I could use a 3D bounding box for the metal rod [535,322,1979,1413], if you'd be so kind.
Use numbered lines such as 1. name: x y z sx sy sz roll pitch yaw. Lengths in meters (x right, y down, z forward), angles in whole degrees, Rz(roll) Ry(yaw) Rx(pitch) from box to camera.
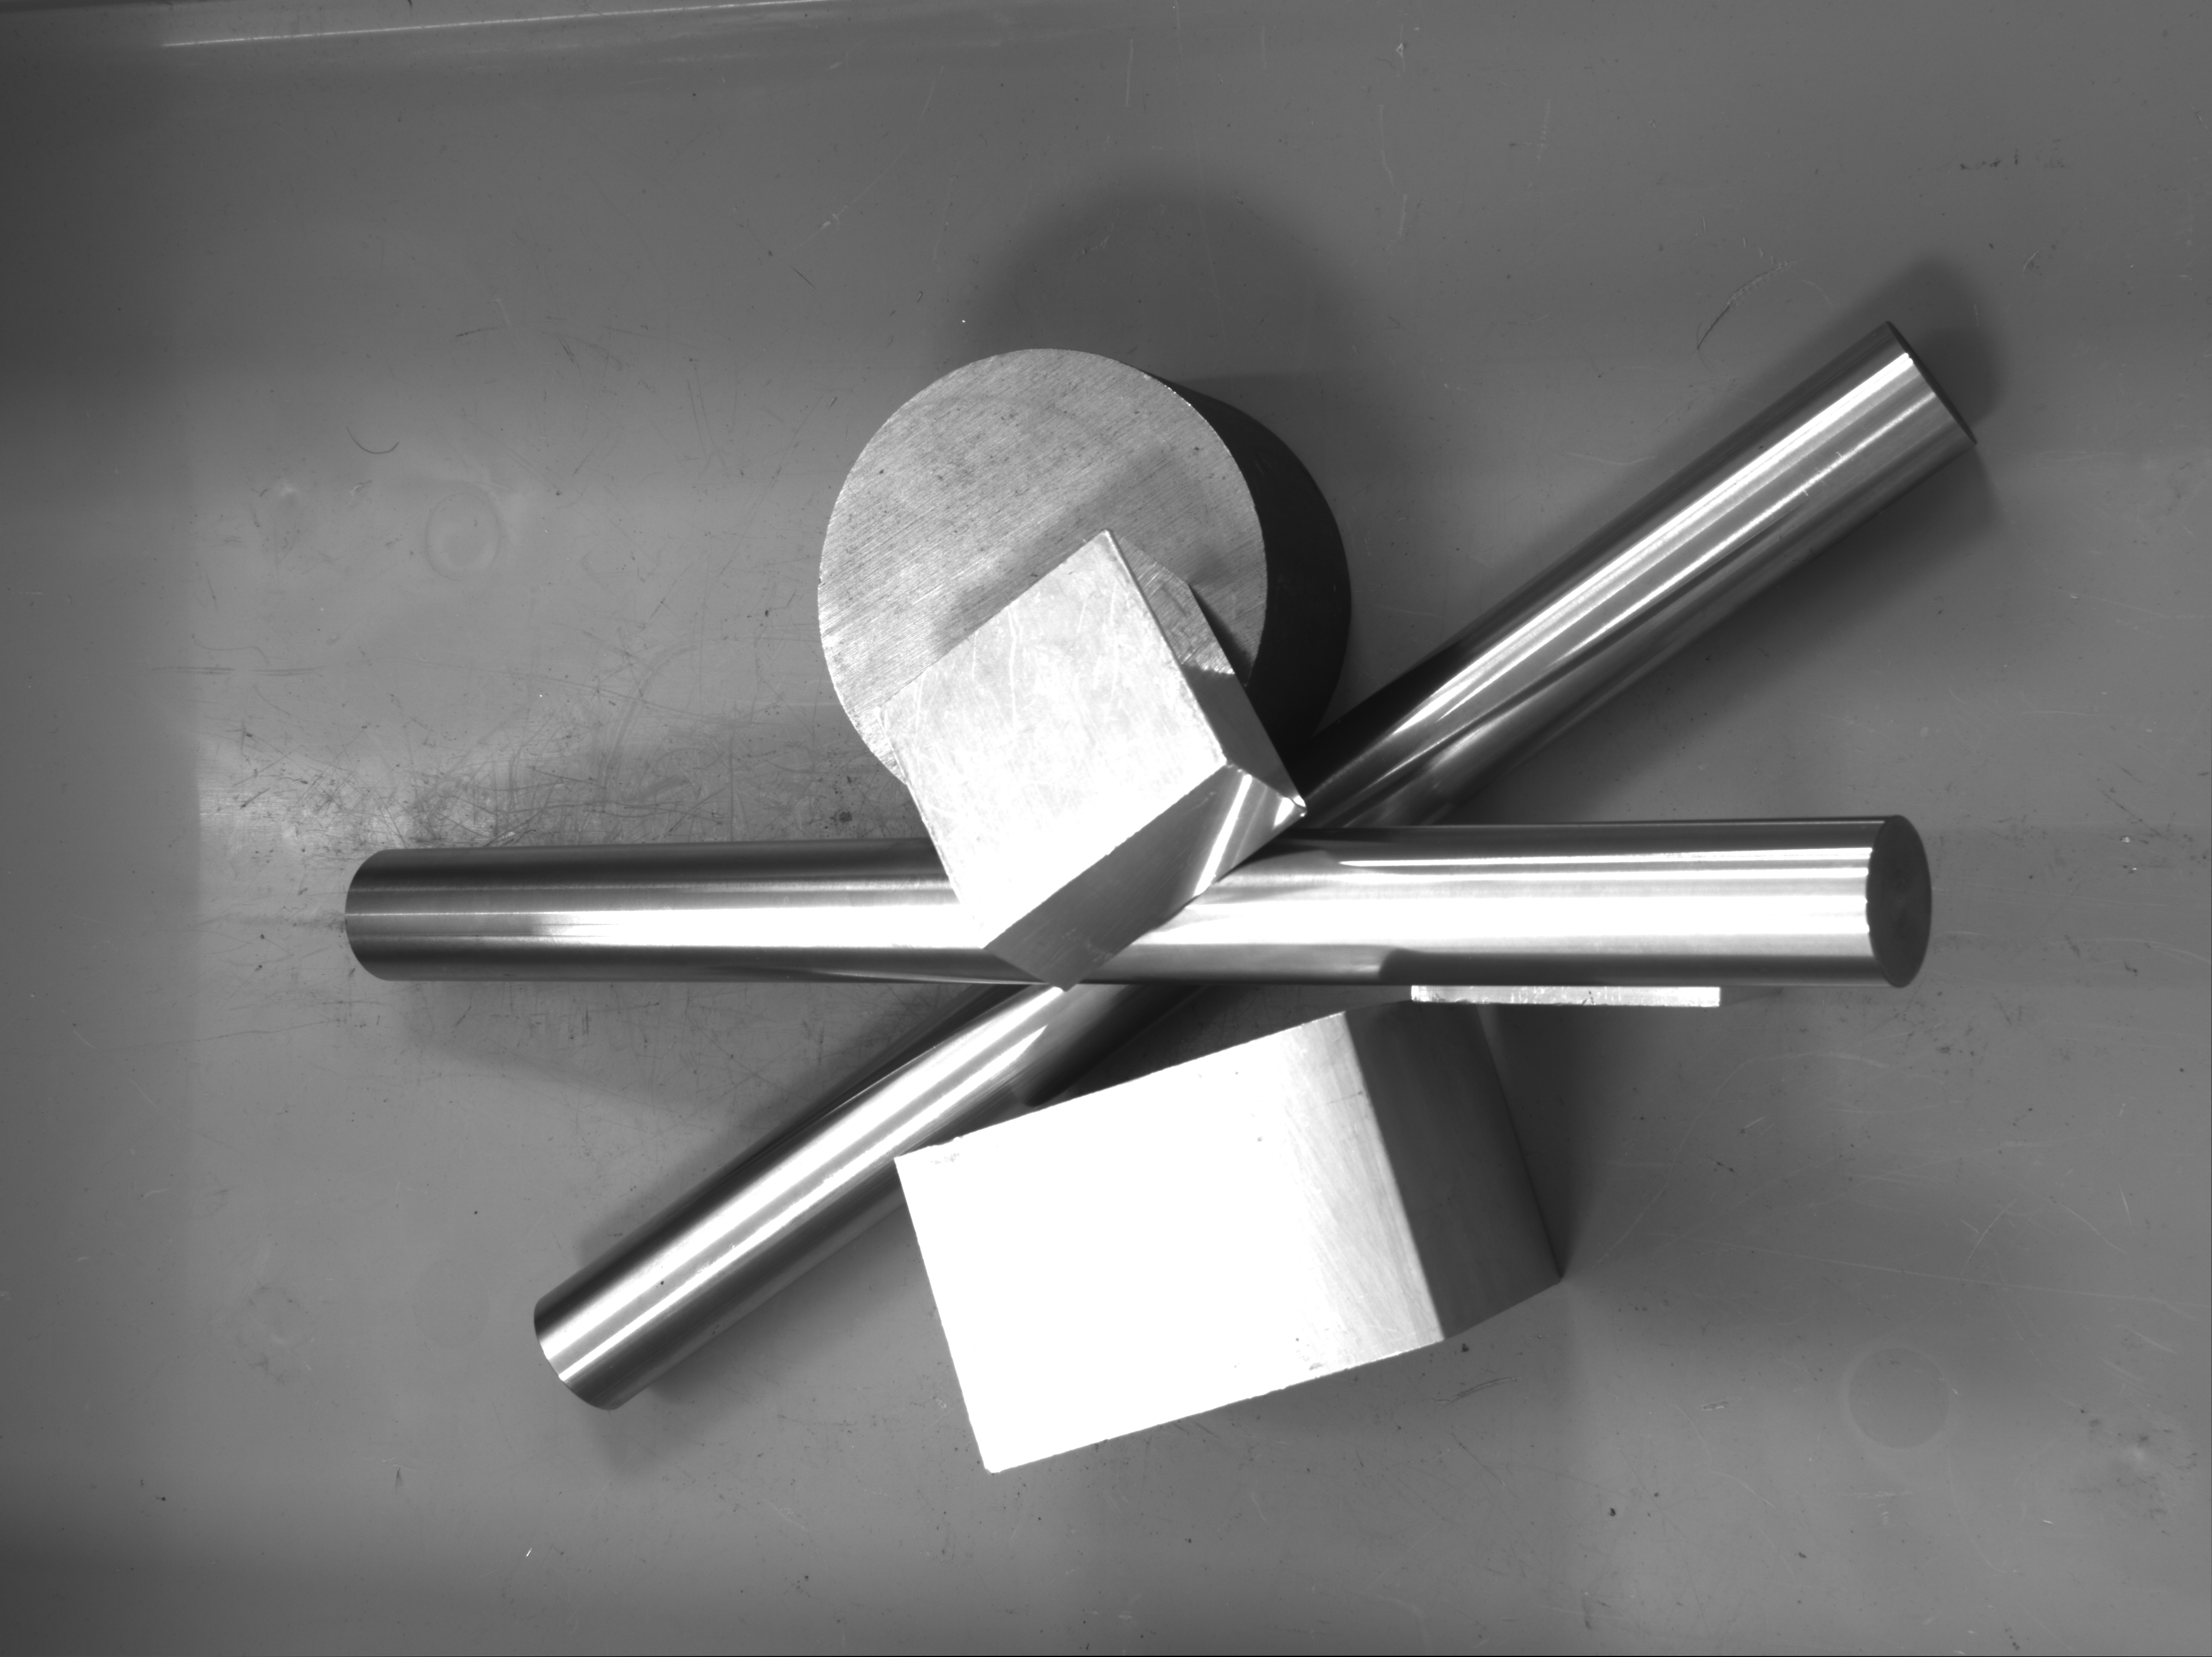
1. metal rod: 0.019 0.013 0.640 0.300 0.025 0.025 -36 78 16

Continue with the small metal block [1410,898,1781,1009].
1. small metal block: 0.081 0.016 0.603 0.050 0.050 0.025 0 90 21

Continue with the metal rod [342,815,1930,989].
1. metal rod: -0.011 0.014 0.612 0.299 0.025 0.025 -1 89 33

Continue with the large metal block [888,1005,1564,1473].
1. large metal block: 0.022 0.066 0.607 0.080 0.080 0.050 -19 83 19

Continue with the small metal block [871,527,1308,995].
1. small metal block: -0.003 -0.011 0.585 0.050 0.025 0.050 -37 55 16

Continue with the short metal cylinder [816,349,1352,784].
1. short metal cylinder: -0.003 -0.039 0.633 0.080 0.050 0.080 0 89 20
